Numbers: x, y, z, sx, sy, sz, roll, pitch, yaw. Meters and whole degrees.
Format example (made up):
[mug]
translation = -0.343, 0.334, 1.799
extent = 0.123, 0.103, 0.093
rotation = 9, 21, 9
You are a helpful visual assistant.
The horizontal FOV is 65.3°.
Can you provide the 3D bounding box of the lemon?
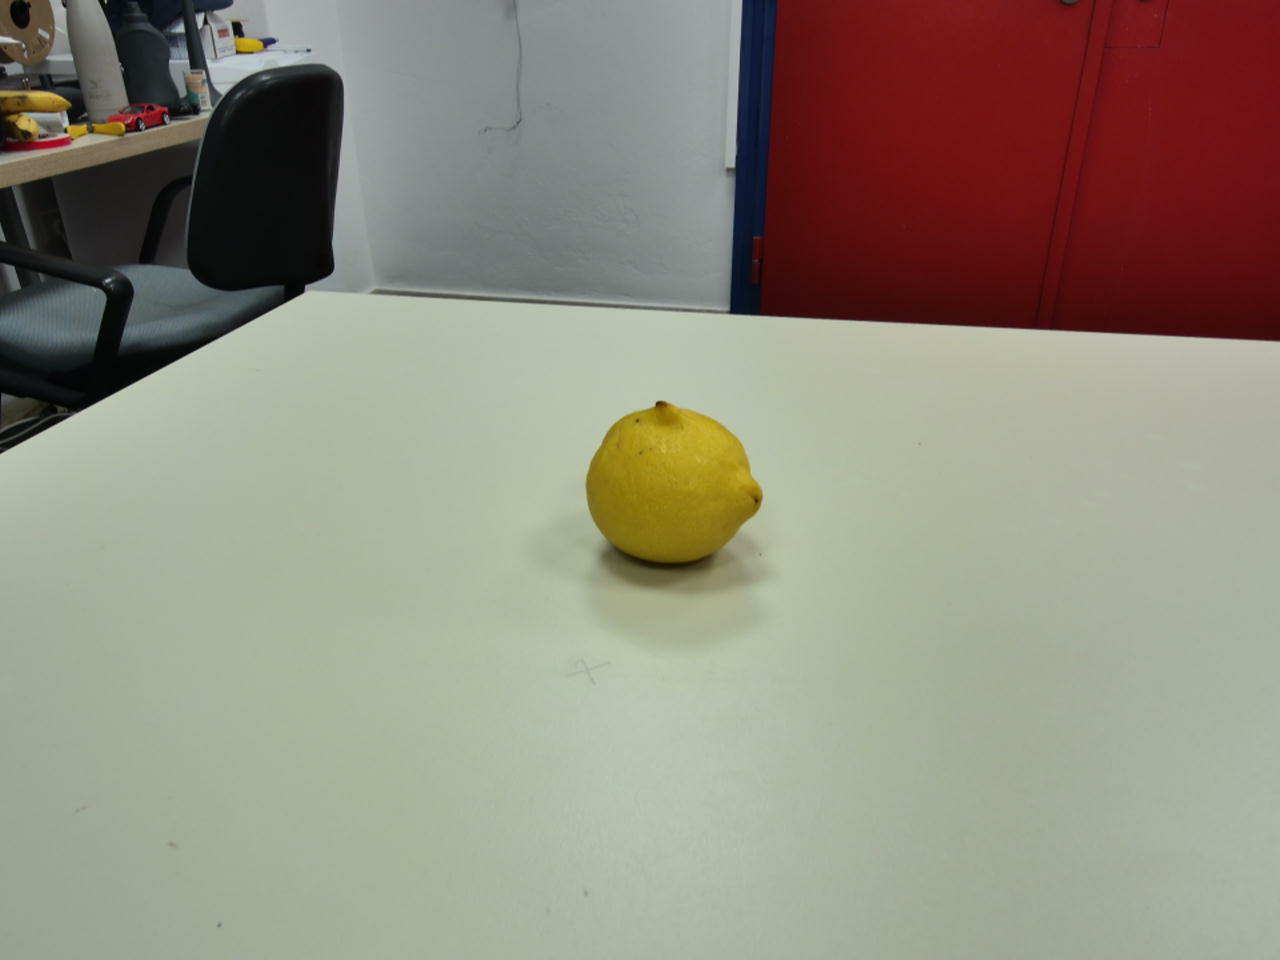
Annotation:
[lemon]
translation = 0.012, -0.001, 0.432
extent = 0.070, 0.071, 0.071
rotation = -9, 26, -19
